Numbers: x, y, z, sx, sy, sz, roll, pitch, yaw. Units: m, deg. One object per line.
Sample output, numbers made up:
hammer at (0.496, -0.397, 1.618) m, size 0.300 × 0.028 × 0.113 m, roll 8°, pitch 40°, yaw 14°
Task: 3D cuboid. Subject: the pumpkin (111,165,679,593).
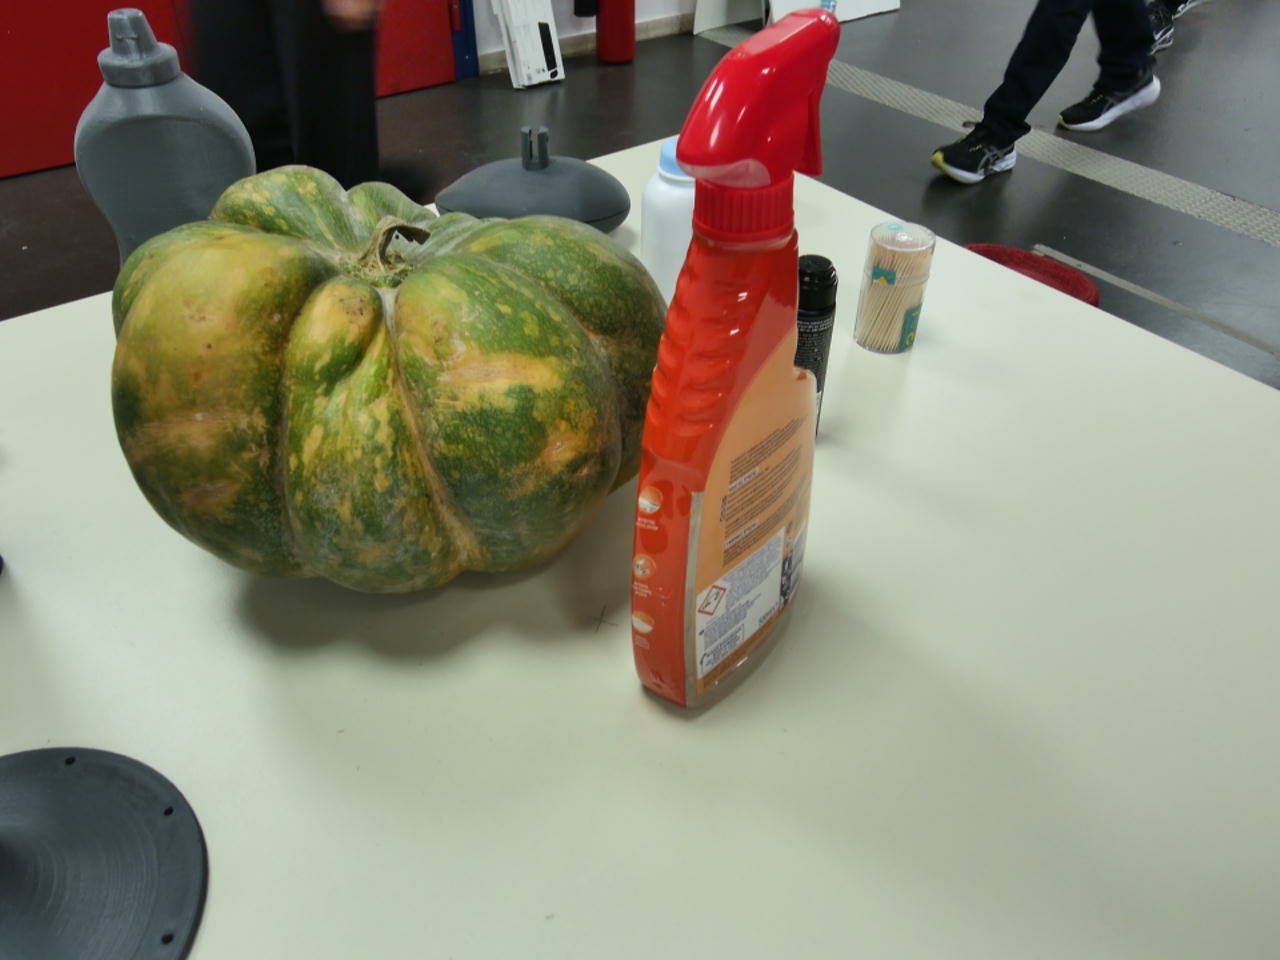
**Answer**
pumpkin at (-0.118, -0.056, 0.477) m, size 0.270 × 0.173 × 0.237 m, roll 0°, pitch 38°, yaw -1°
